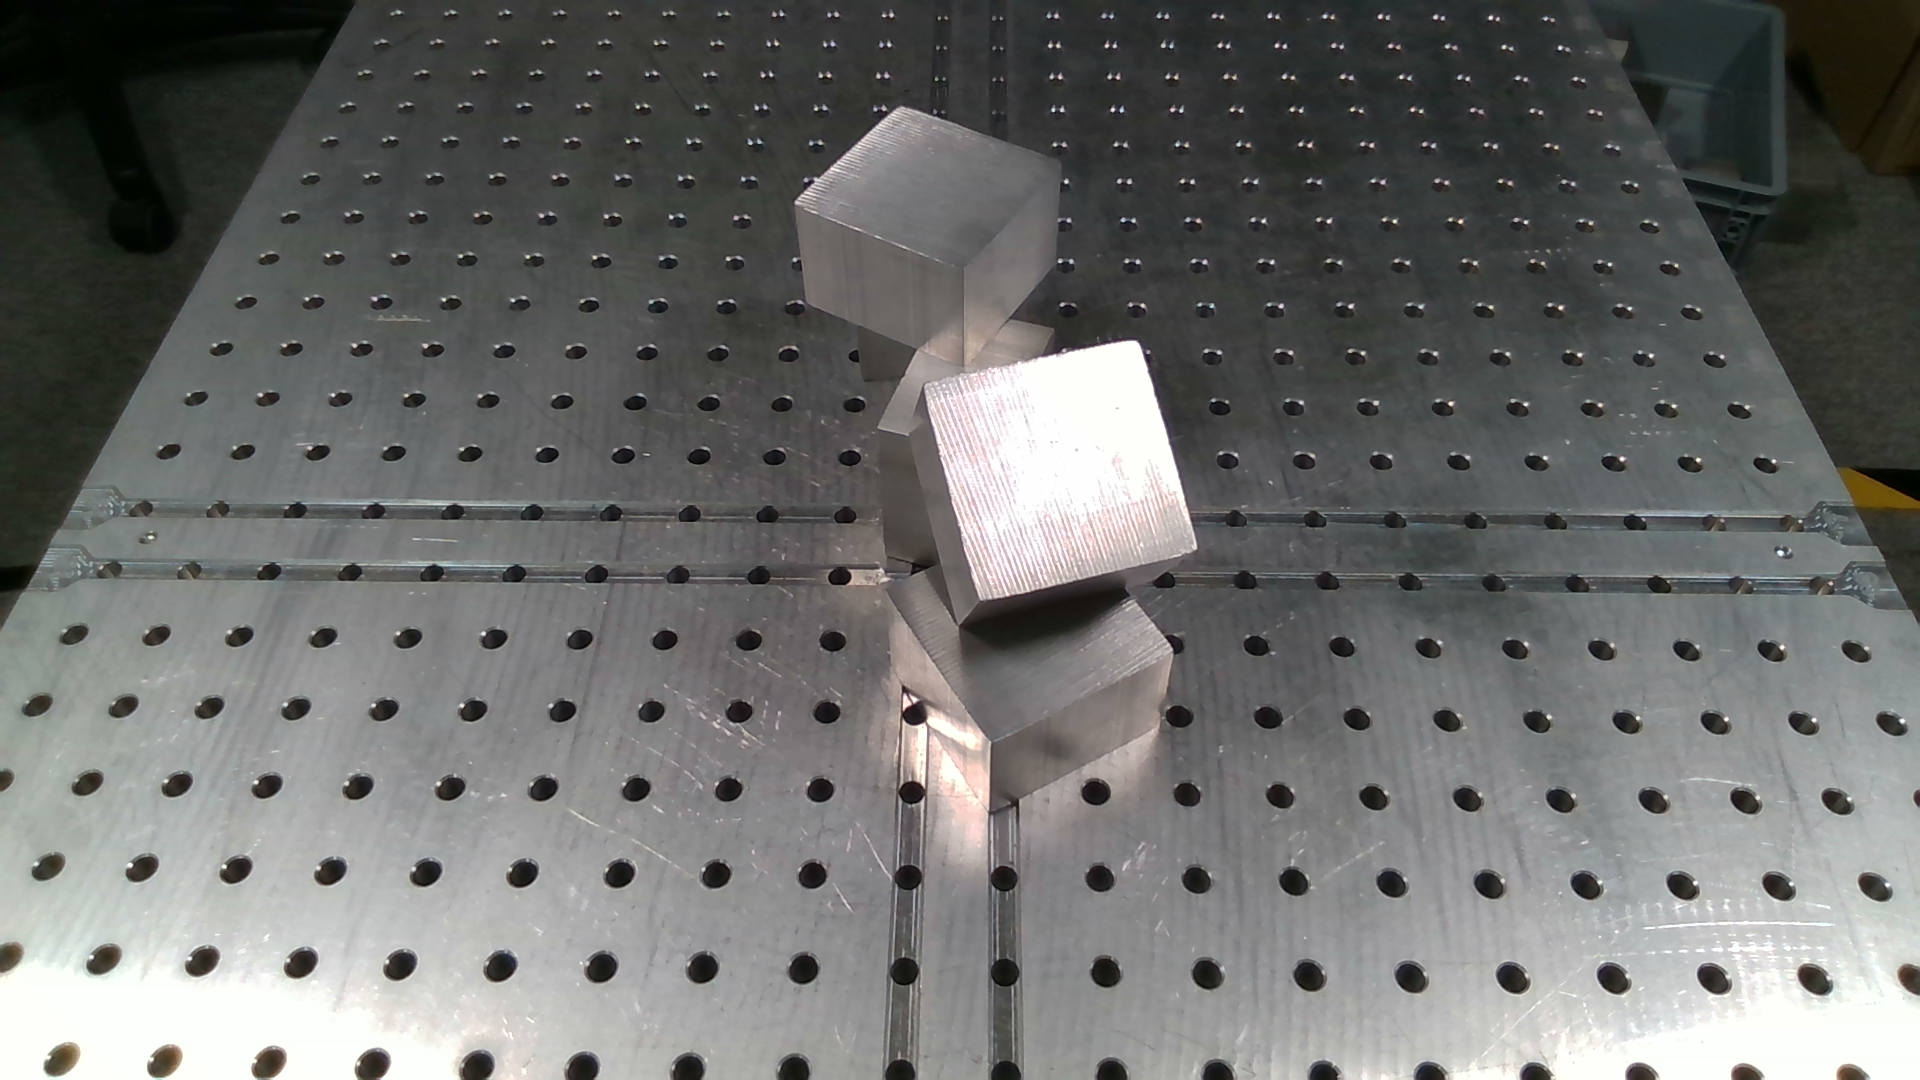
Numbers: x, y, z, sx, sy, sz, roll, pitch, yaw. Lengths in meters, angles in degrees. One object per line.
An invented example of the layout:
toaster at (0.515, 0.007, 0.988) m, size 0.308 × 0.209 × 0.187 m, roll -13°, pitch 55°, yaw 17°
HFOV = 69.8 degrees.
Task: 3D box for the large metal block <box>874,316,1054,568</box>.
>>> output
large metal block at (0.003, -0.041, 0.588) m, size 0.050 × 0.080 × 0.080 m, roll 15°, pitch 52°, yaw 12°

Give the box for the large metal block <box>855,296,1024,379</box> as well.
large metal block at (-0.012, -0.126, 0.659) m, size 0.080 × 0.080 × 0.050 m, roll -5°, pitch 50°, yaw -4°

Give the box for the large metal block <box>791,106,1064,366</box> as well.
large metal block at (-0.013, -0.129, 0.575) m, size 0.080 × 0.050 × 0.080 m, roll 25°, pitch 54°, yaw 19°

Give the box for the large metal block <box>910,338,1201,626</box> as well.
large metal block at (0.032, -0.020, 0.501) m, size 0.080 × 0.050 × 0.080 m, roll -13°, pitch 80°, yaw -10°

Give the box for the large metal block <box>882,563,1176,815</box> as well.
large metal block at (0.025, 0.046, 0.535) m, size 0.080 × 0.050 × 0.080 m, roll -24°, pitch 54°, yaw -19°
